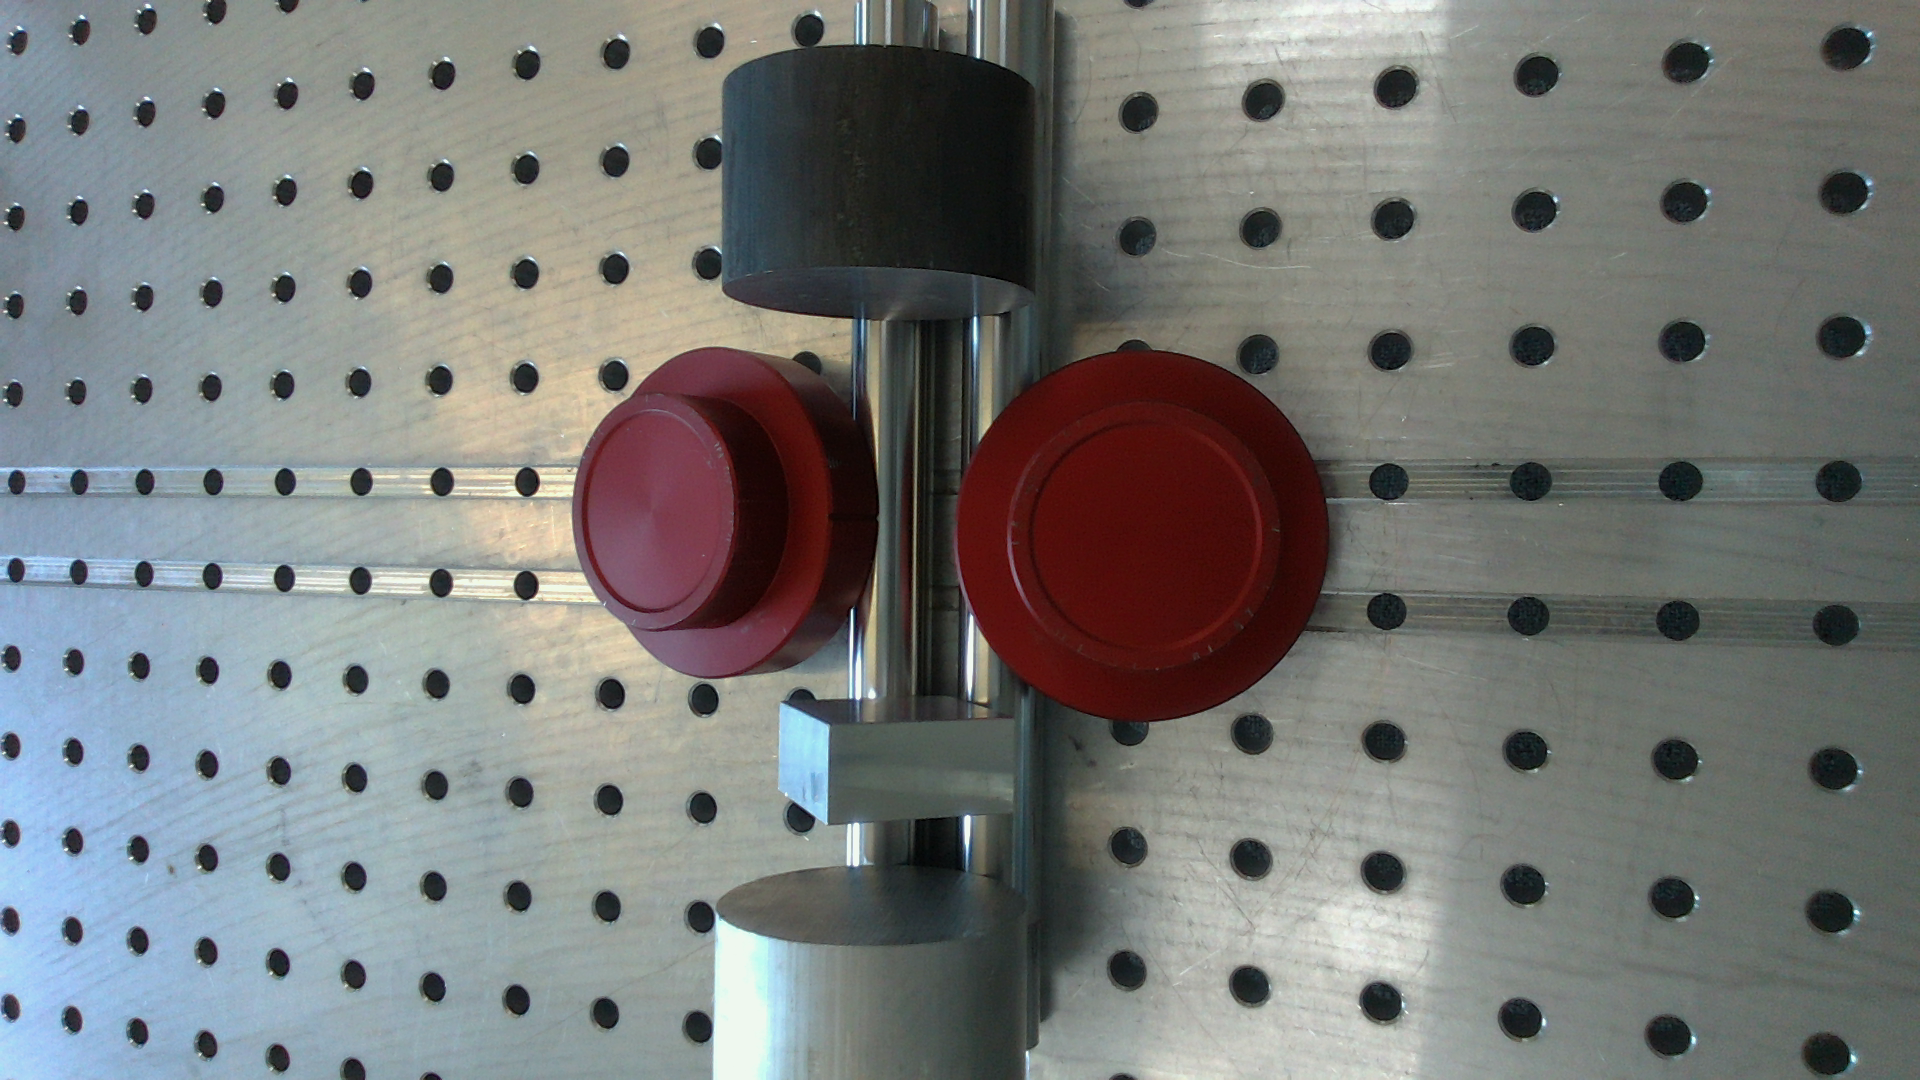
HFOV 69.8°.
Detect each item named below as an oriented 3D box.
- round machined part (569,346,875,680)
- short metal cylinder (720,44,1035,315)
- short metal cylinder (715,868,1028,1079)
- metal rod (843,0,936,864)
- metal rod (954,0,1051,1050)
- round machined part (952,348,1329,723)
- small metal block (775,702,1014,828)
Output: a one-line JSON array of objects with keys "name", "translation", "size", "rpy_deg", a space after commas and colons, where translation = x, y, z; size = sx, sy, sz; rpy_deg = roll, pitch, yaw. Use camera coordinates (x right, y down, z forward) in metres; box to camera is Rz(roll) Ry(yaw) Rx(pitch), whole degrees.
[{"name": "round machined part", "translation": [-0.076, -0.008, 0.403], "size": [0.098, 0.042, 0.098], "rpy_deg": [0, 90, 34]}, {"name": "short metal cylinder", "translation": [-0.021, -0.088, 0.353], "size": [0.080, 0.080, 0.050], "rpy_deg": [1, 90, 20]}, {"name": "short metal cylinder", "translation": [-0.023, 0.118, 0.355], "size": [0.080, 0.080, 0.050], "rpy_deg": [1, 90, 20]}, {"name": "metal rod", "translation": [-0.021, -0.005, 0.405], "size": [0.025, 0.025, 0.300], "rpy_deg": [1, 90, 20]}, {"name": "metal rod", "translation": [0.012, -0.007, 0.393], "size": [0.025, 0.025, 0.300], "rpy_deg": [1, 90, 20]}, {"name": "round machined part", "translation": [0.047, -0.001, 0.358], "size": [0.098, 0.042, 0.098], "rpy_deg": [0, 90, 5]}, {"name": "small metal block", "translation": [-0.019, 0.058, 0.367], "size": [0.050, 0.050, 0.025], "rpy_deg": [1, 90, -22]}]
